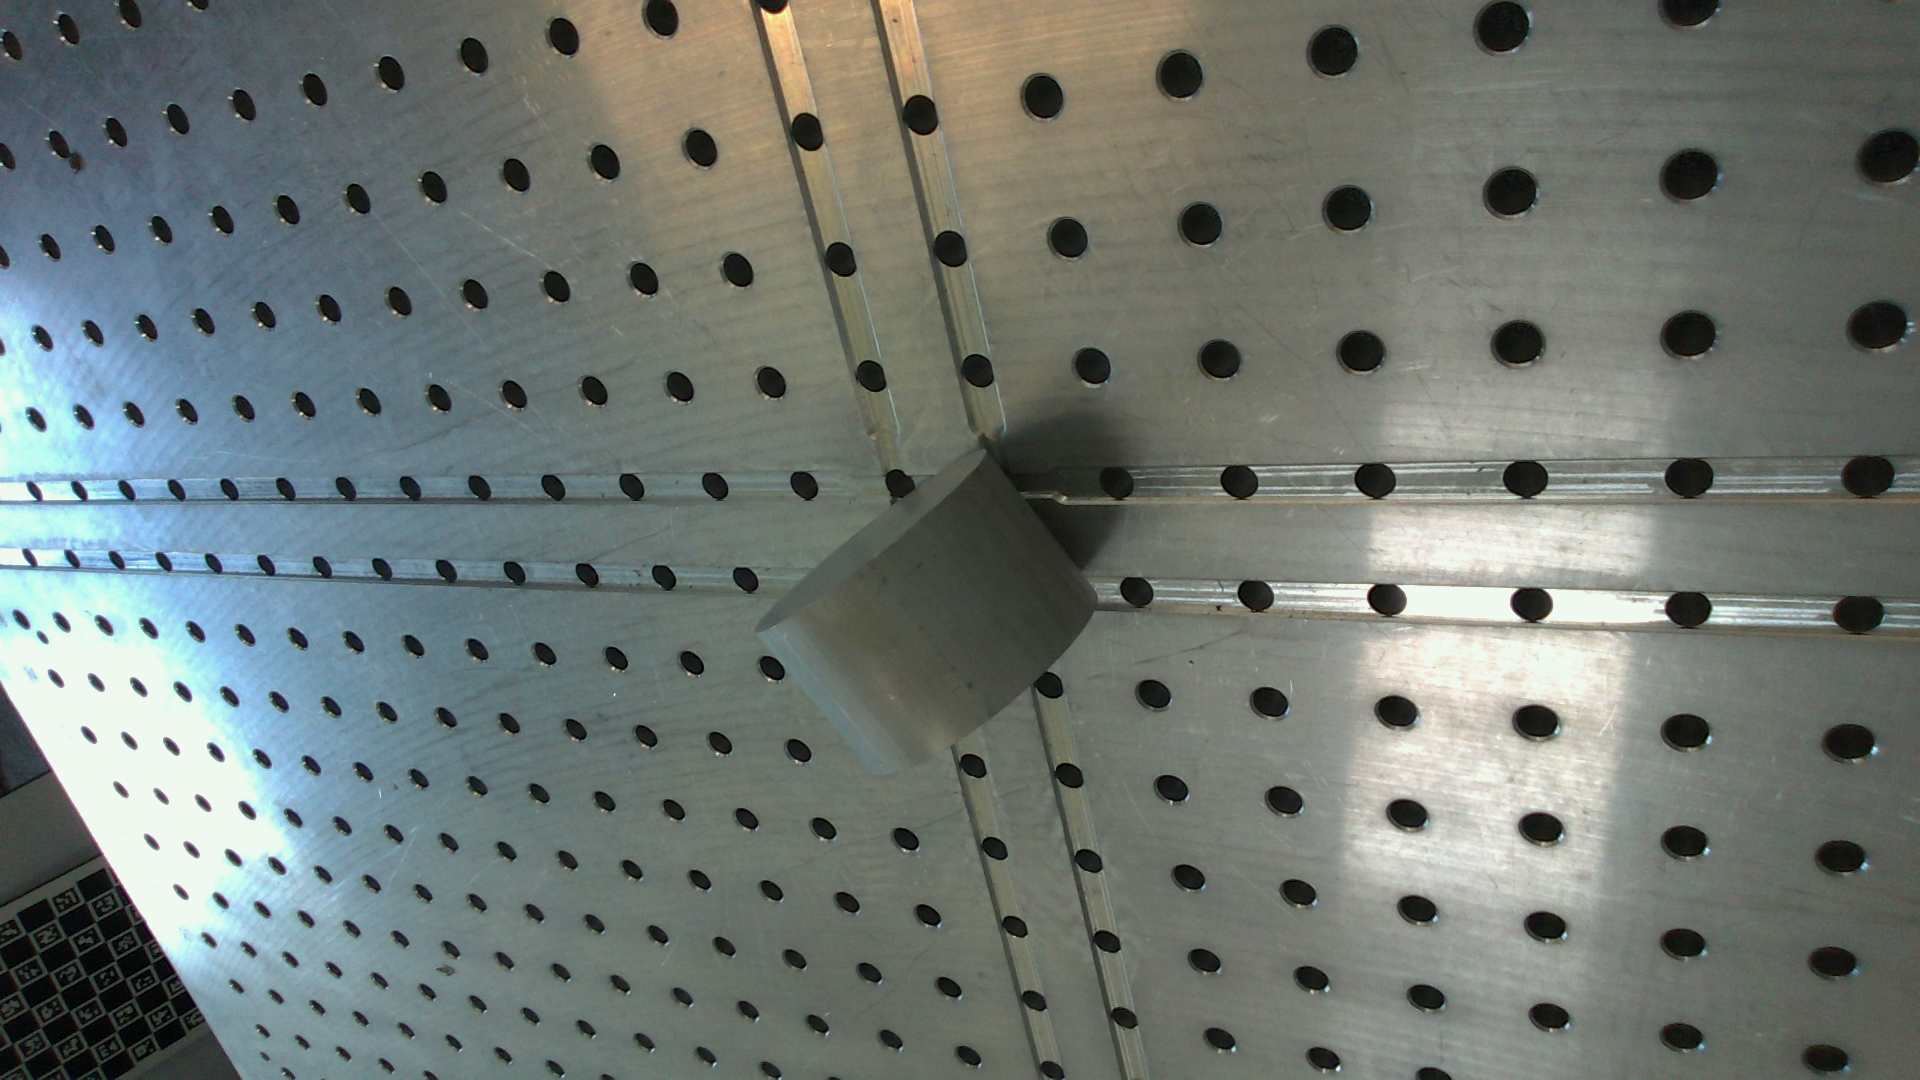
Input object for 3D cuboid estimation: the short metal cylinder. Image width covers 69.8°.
[{"bbox_3d":[-0.010,0.019,0.377,0.080,0.080,0.050,-32,100,38],"label":"short metal cylinder"}]
